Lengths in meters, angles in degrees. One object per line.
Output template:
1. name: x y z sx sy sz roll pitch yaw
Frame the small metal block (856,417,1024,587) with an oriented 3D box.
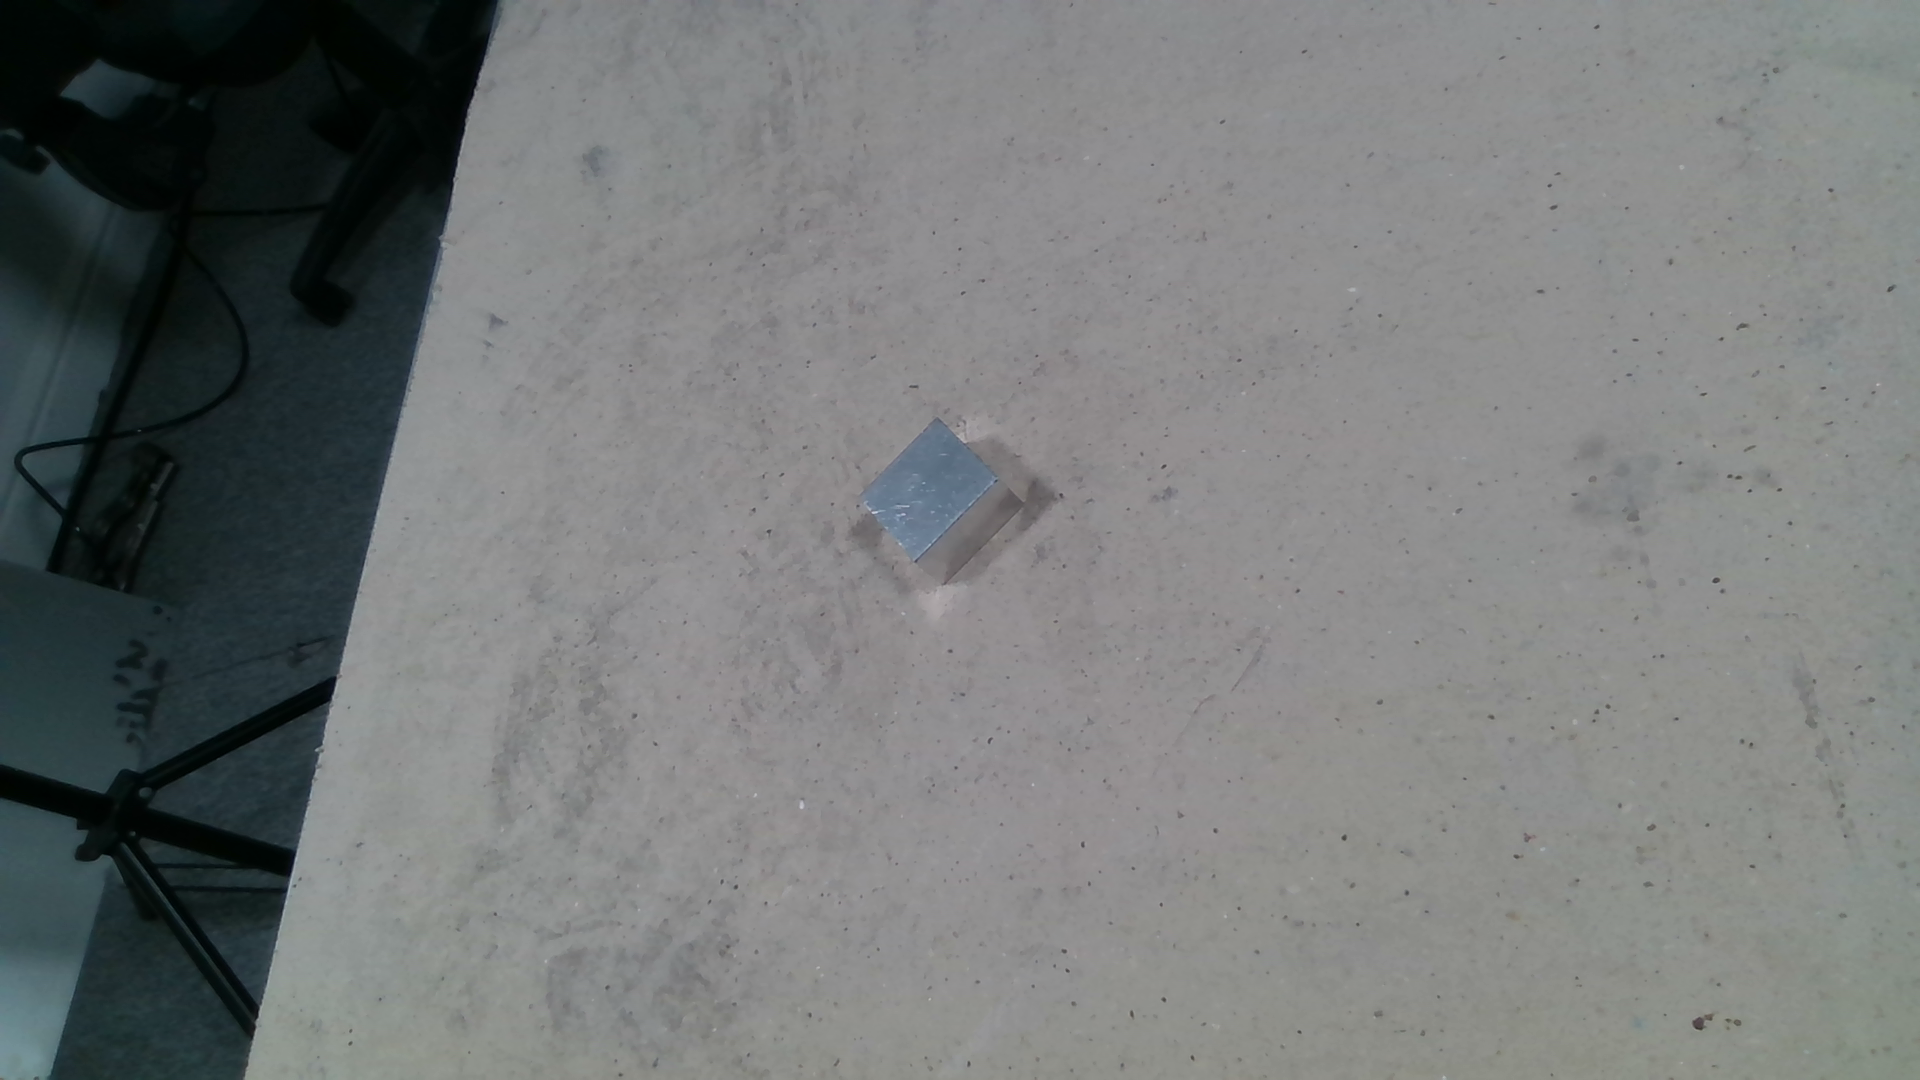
1. small metal block: -0.009 -0.017 0.600 0.050 0.025 0.050 -45 51 3
